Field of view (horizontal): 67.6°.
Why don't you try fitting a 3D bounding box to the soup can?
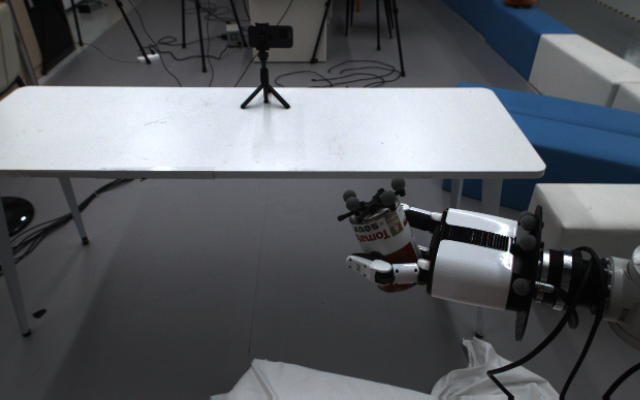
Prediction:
[{"bbox_3d":[0.088,0.053,0.604,0.067,0.101,0.067,-23,16,7],"label":"soup can"}]
